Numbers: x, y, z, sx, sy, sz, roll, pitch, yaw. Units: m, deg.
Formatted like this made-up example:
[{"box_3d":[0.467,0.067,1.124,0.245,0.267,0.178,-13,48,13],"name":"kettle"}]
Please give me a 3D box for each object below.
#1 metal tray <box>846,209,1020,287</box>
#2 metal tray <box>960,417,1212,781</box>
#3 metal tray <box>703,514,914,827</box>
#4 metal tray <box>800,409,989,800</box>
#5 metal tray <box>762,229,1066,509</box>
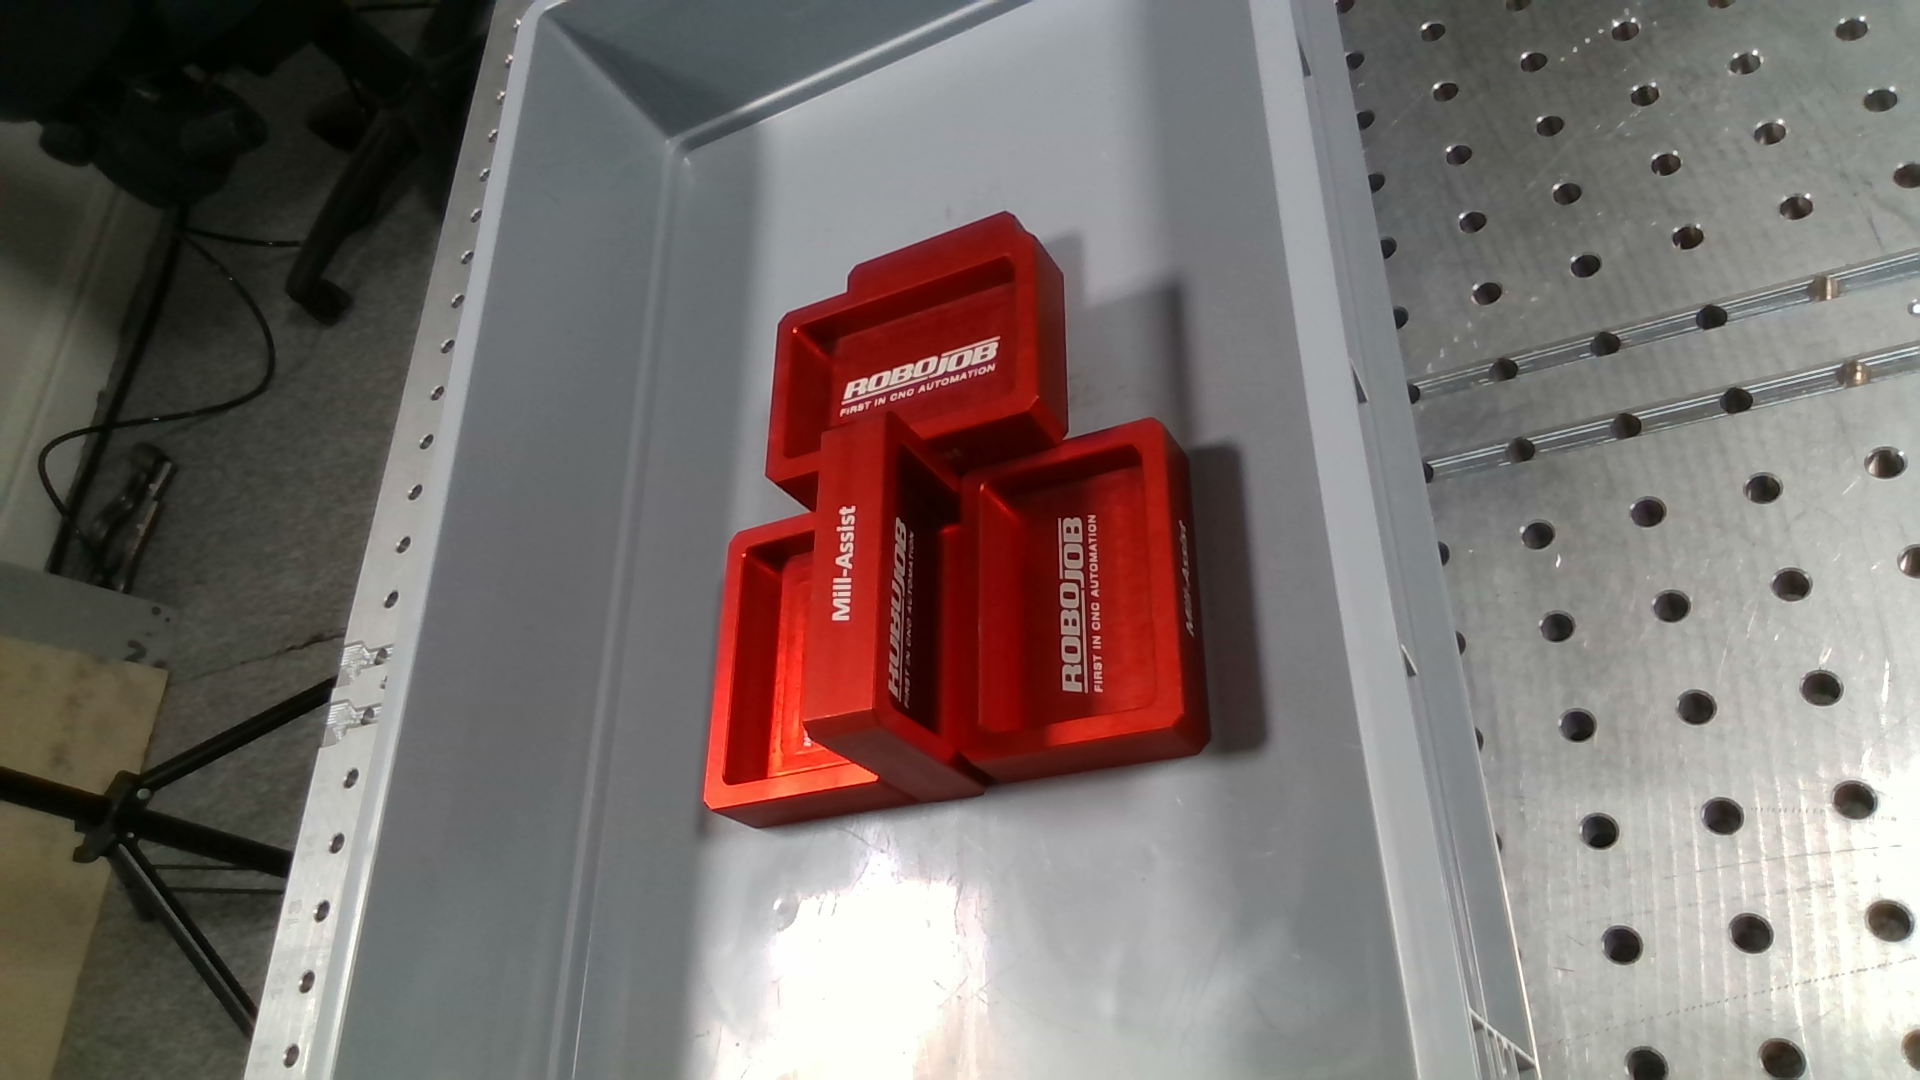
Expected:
[{"box_3d":[-0.009,-0.079,0.626,0.090,0.030,0.130,-14,59,25],"name":"metal tray"},{"box_3d":[0.047,0.023,0.540,0.090,0.030,0.130,-14,59,25],"name":"metal tray"},{"box_3d":[-0.060,0.051,0.591,0.090,0.030,0.130,-14,59,25],"name":"metal tray"},{"box_3d":[-0.021,0.026,0.540,0.030,0.090,0.130,-14,59,25],"name":"metal tray"},{"box_3d":[-0.020,-0.072,0.591,0.130,0.030,0.090,-14,59,25],"name":"metal tray"}]
